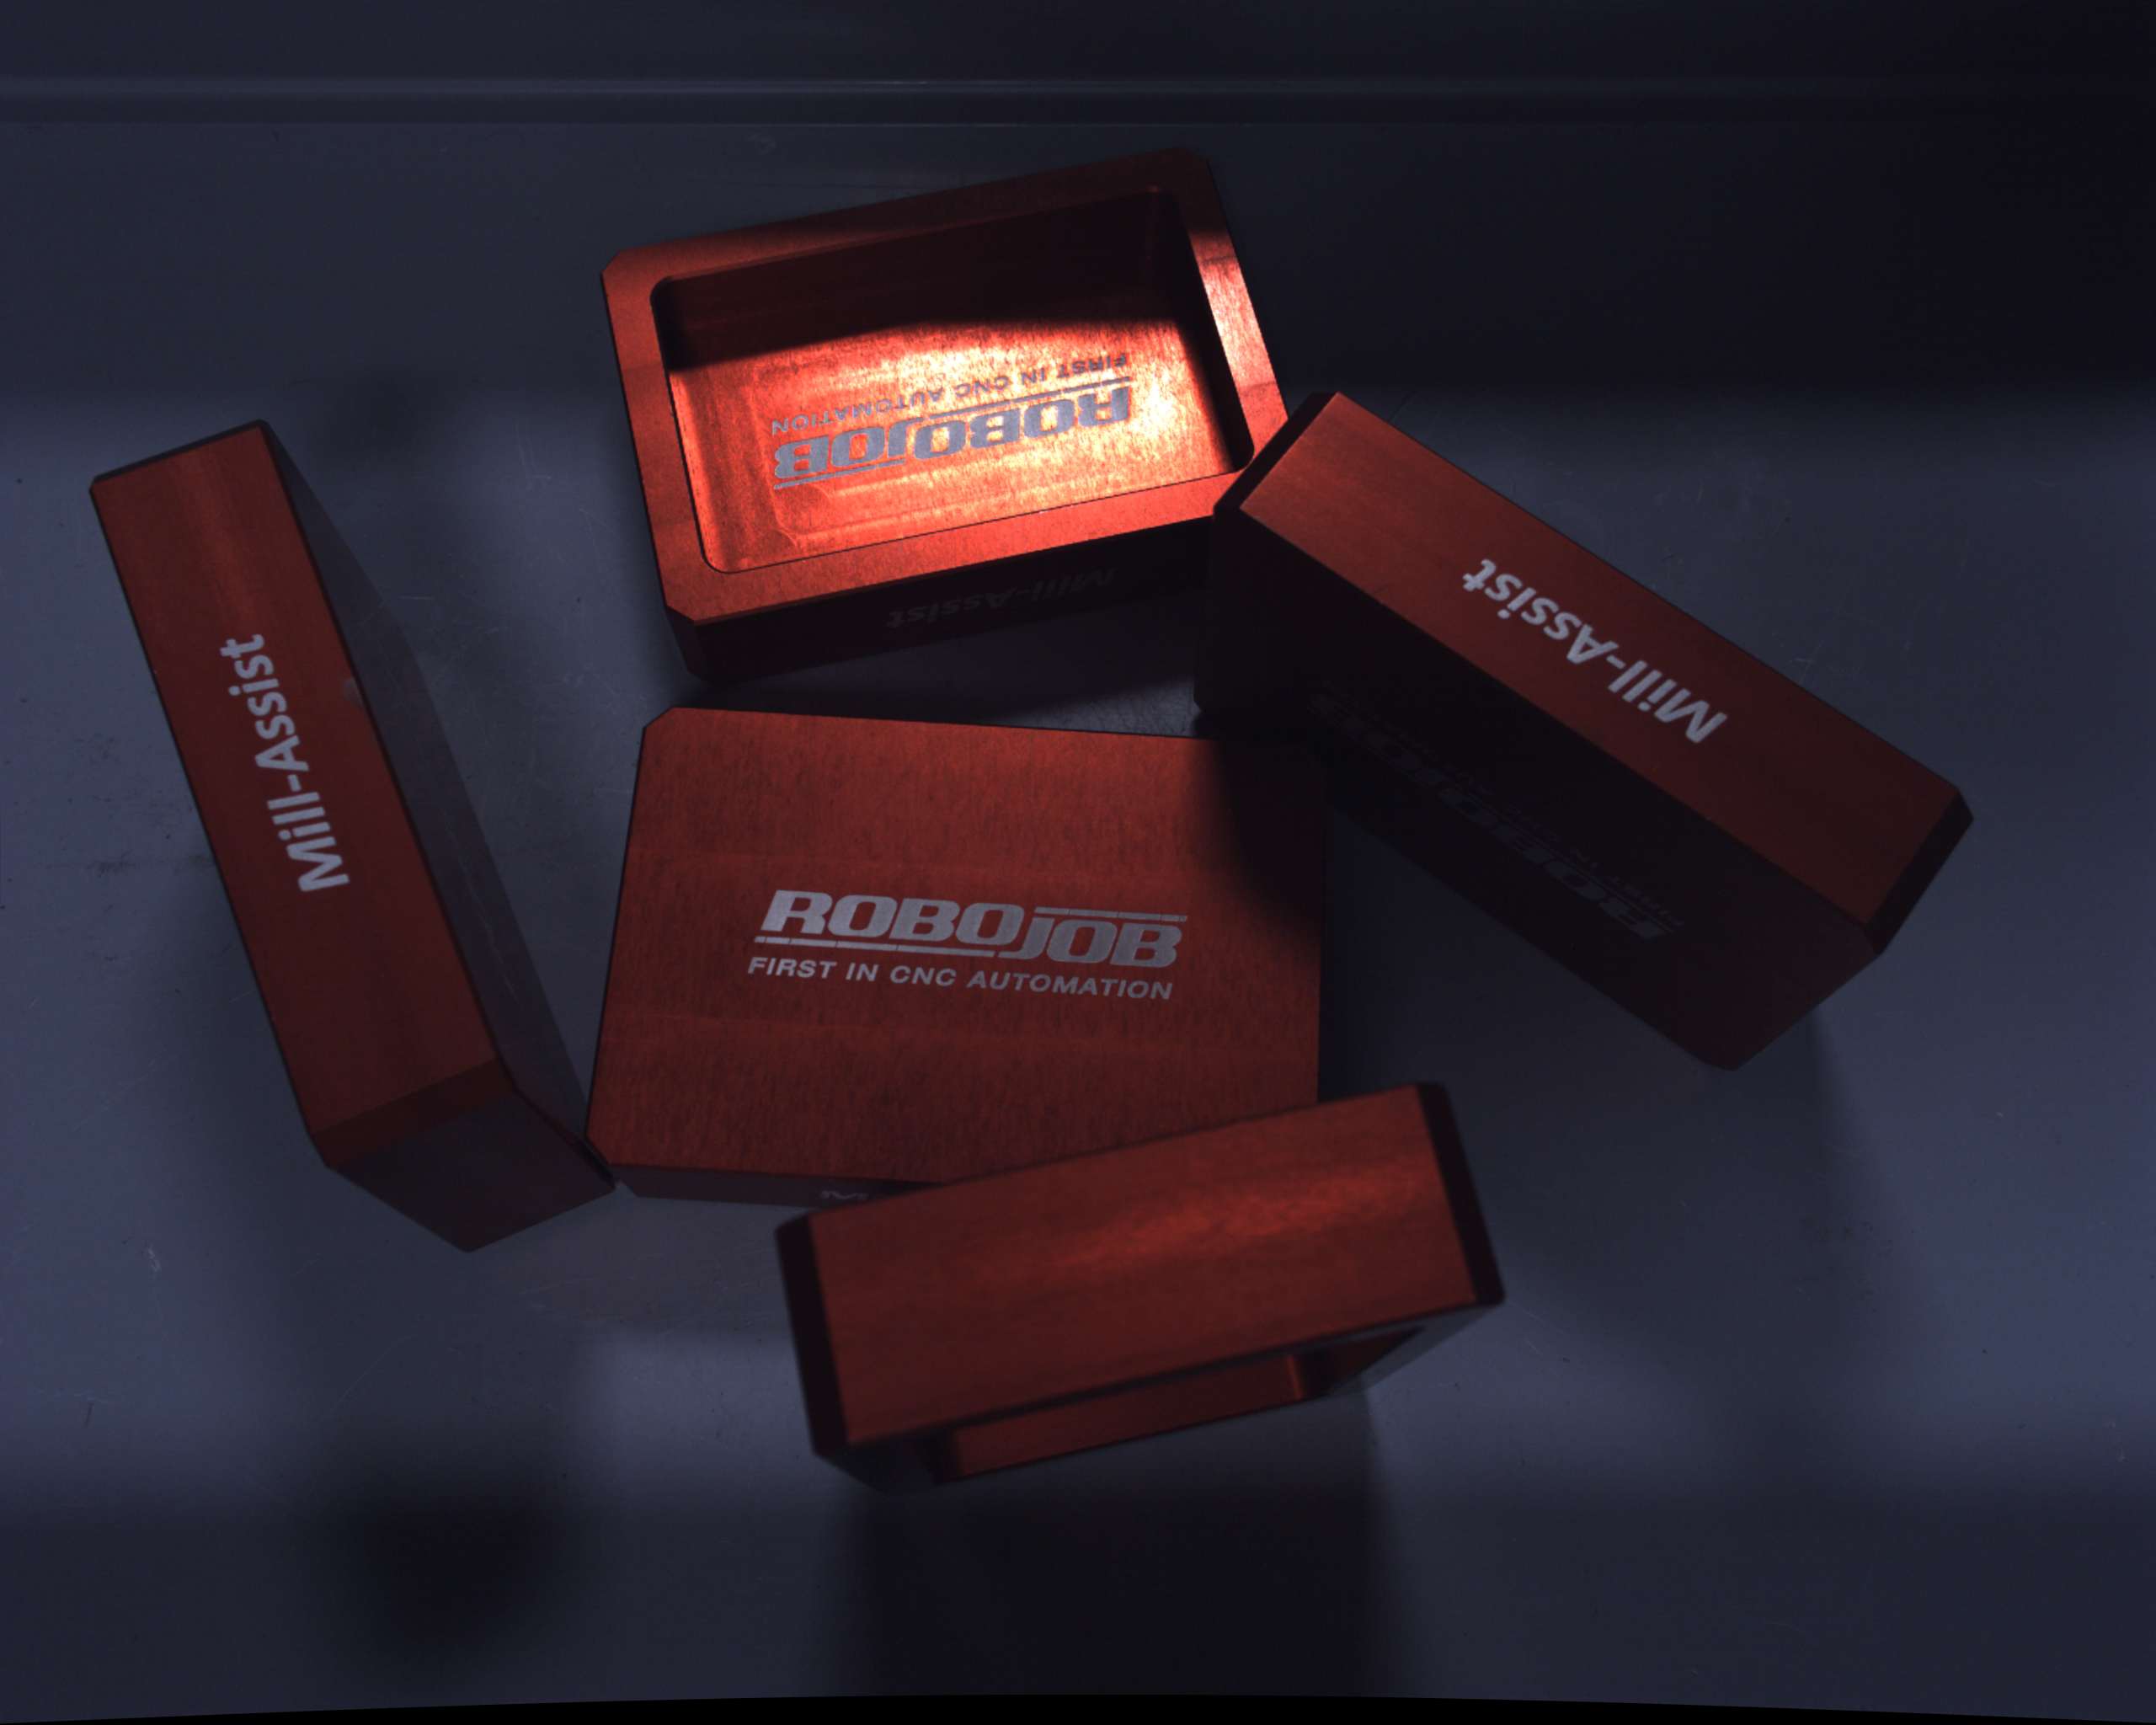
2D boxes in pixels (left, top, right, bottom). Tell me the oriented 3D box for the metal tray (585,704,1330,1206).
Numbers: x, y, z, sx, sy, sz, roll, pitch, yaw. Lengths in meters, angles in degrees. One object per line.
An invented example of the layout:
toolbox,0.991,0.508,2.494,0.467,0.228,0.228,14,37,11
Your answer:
metal tray,-0.020,0.020,0.396,0.131,0.030,0.090,3,70,1

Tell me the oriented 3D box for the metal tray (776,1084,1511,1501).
metal tray,0.008,0.072,0.325,0.091,0.130,0.030,-12,71,-5

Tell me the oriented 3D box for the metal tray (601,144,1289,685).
metal tray,-0.026,-0.095,0.440,0.131,0.030,0.090,-12,71,-5

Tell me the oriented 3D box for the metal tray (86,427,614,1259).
metal tray,-0.127,-0.001,0.372,0.030,0.090,0.130,-23,72,-9

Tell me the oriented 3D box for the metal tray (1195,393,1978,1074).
metal tray,0.084,-0.020,0.381,0.130,0.090,0.030,36,75,12
